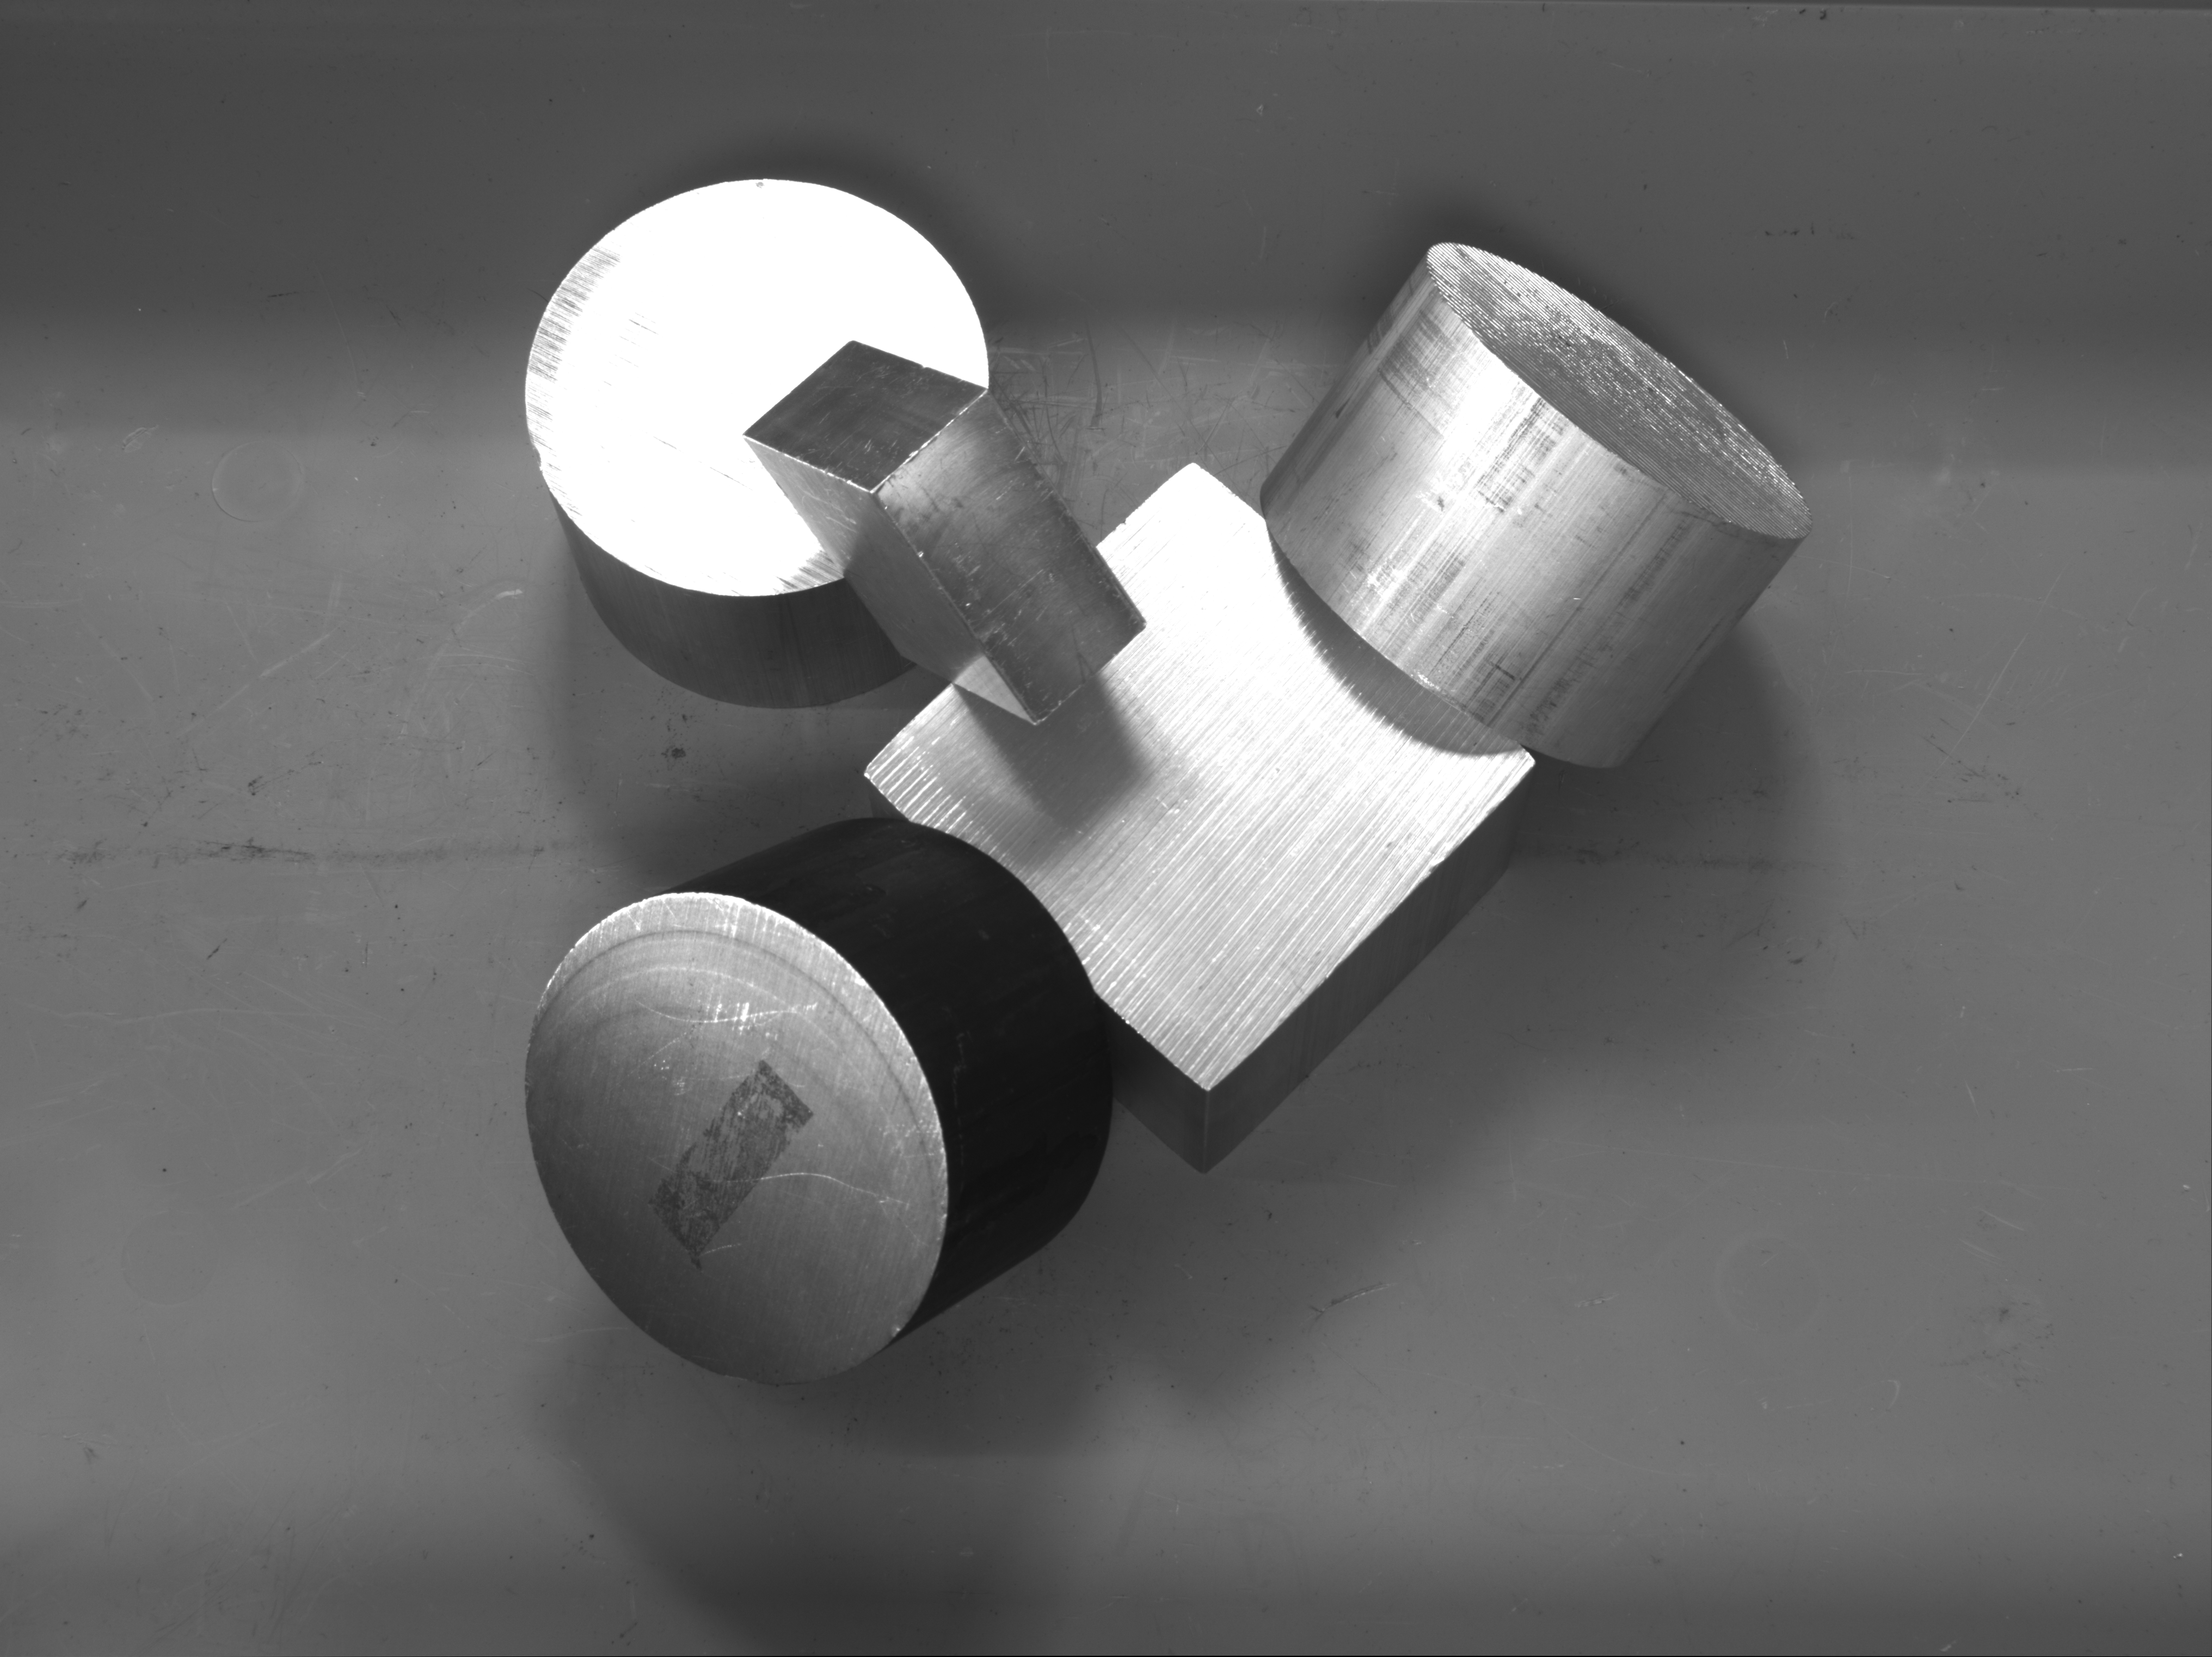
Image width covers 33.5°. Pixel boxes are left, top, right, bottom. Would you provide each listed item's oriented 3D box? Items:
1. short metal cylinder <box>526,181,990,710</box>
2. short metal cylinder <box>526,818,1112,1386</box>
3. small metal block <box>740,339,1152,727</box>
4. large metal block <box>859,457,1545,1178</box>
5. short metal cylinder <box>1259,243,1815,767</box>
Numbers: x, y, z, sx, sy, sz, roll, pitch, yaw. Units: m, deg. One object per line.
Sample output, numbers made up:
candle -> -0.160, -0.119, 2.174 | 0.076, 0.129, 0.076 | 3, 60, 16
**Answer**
short metal cylinder -> -0.060, -0.068, 0.656 | 0.080, 0.050, 0.080 | 0, 70, 0
short metal cylinder -> -0.046, 0.043, 0.593 | 0.080, 0.050, 0.080 | 9, 108, 29
small metal block -> -0.026, -0.049, 0.596 | 0.025, 0.050, 0.050 | -43, 32, -12
large metal block -> 0.016, -0.001, 0.629 | 0.080, 0.050, 0.080 | 43, 75, 14
short metal cylinder -> 0.073, -0.056, 0.628 | 0.080, 0.080, 0.050 | 42, 114, 14
